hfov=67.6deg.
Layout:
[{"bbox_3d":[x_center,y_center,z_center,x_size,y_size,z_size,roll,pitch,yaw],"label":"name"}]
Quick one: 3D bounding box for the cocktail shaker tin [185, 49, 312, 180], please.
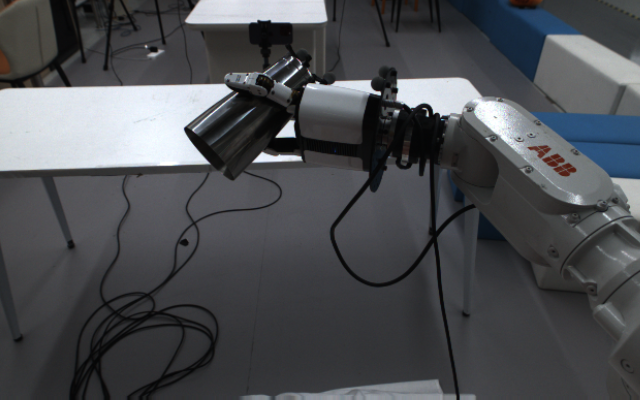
[{"bbox_3d":[-0.086,-0.120,0.650,0.170,0.093,0.093,-43,50,-14],"label":"cocktail shaker tin"}]
